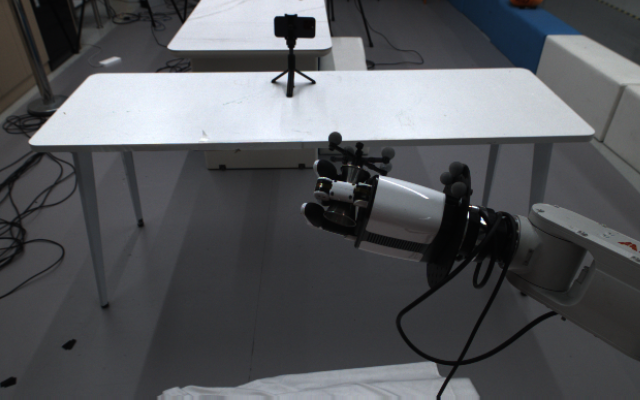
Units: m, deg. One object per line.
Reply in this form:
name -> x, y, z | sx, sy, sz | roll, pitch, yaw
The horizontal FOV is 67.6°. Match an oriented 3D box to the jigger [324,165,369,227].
jigger -> 0.038, -0.006, 0.611 | 0.043, 0.043, 0.071 | 12, 71, 14
